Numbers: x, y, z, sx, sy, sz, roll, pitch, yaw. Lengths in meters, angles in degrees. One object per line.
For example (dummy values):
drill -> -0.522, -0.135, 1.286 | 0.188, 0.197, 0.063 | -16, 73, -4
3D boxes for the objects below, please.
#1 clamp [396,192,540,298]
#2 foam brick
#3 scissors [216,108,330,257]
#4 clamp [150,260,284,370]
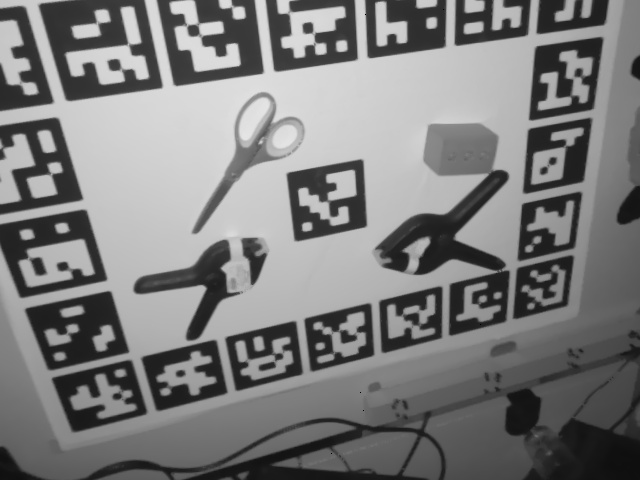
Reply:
clamp -> 0.204, 0.029, 0.944 | 0.204, 0.036, 0.164 | -14, 123, -8
foam brick -> 0.209, -0.091, 0.878 | 0.079, 0.051, 0.052 | -6, 117, -18
scissors -> -0.068, -0.058, 0.827 | 0.088, 0.016, 0.201 | 29, 107, -19
clamp -> -0.115, 0.081, 0.881 | 0.165, 0.036, 0.122 | -36, 114, 3
